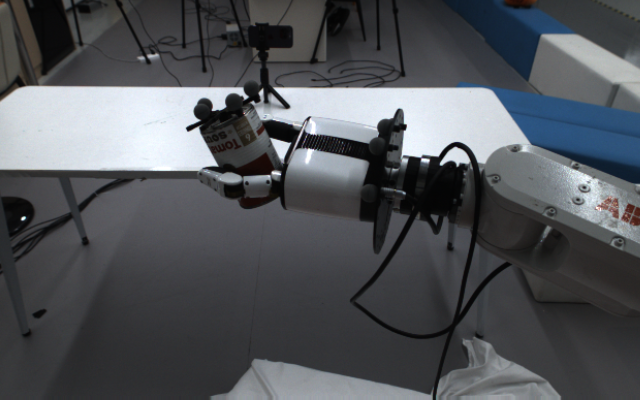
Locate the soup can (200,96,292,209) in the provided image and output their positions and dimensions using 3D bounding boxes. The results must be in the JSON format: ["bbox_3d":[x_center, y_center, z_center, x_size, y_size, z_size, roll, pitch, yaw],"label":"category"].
[{"bbox_3d":[-0.082,-0.050,0.554,0.067,0.101,0.067,-22,24,10],"label":"soup can"}]
